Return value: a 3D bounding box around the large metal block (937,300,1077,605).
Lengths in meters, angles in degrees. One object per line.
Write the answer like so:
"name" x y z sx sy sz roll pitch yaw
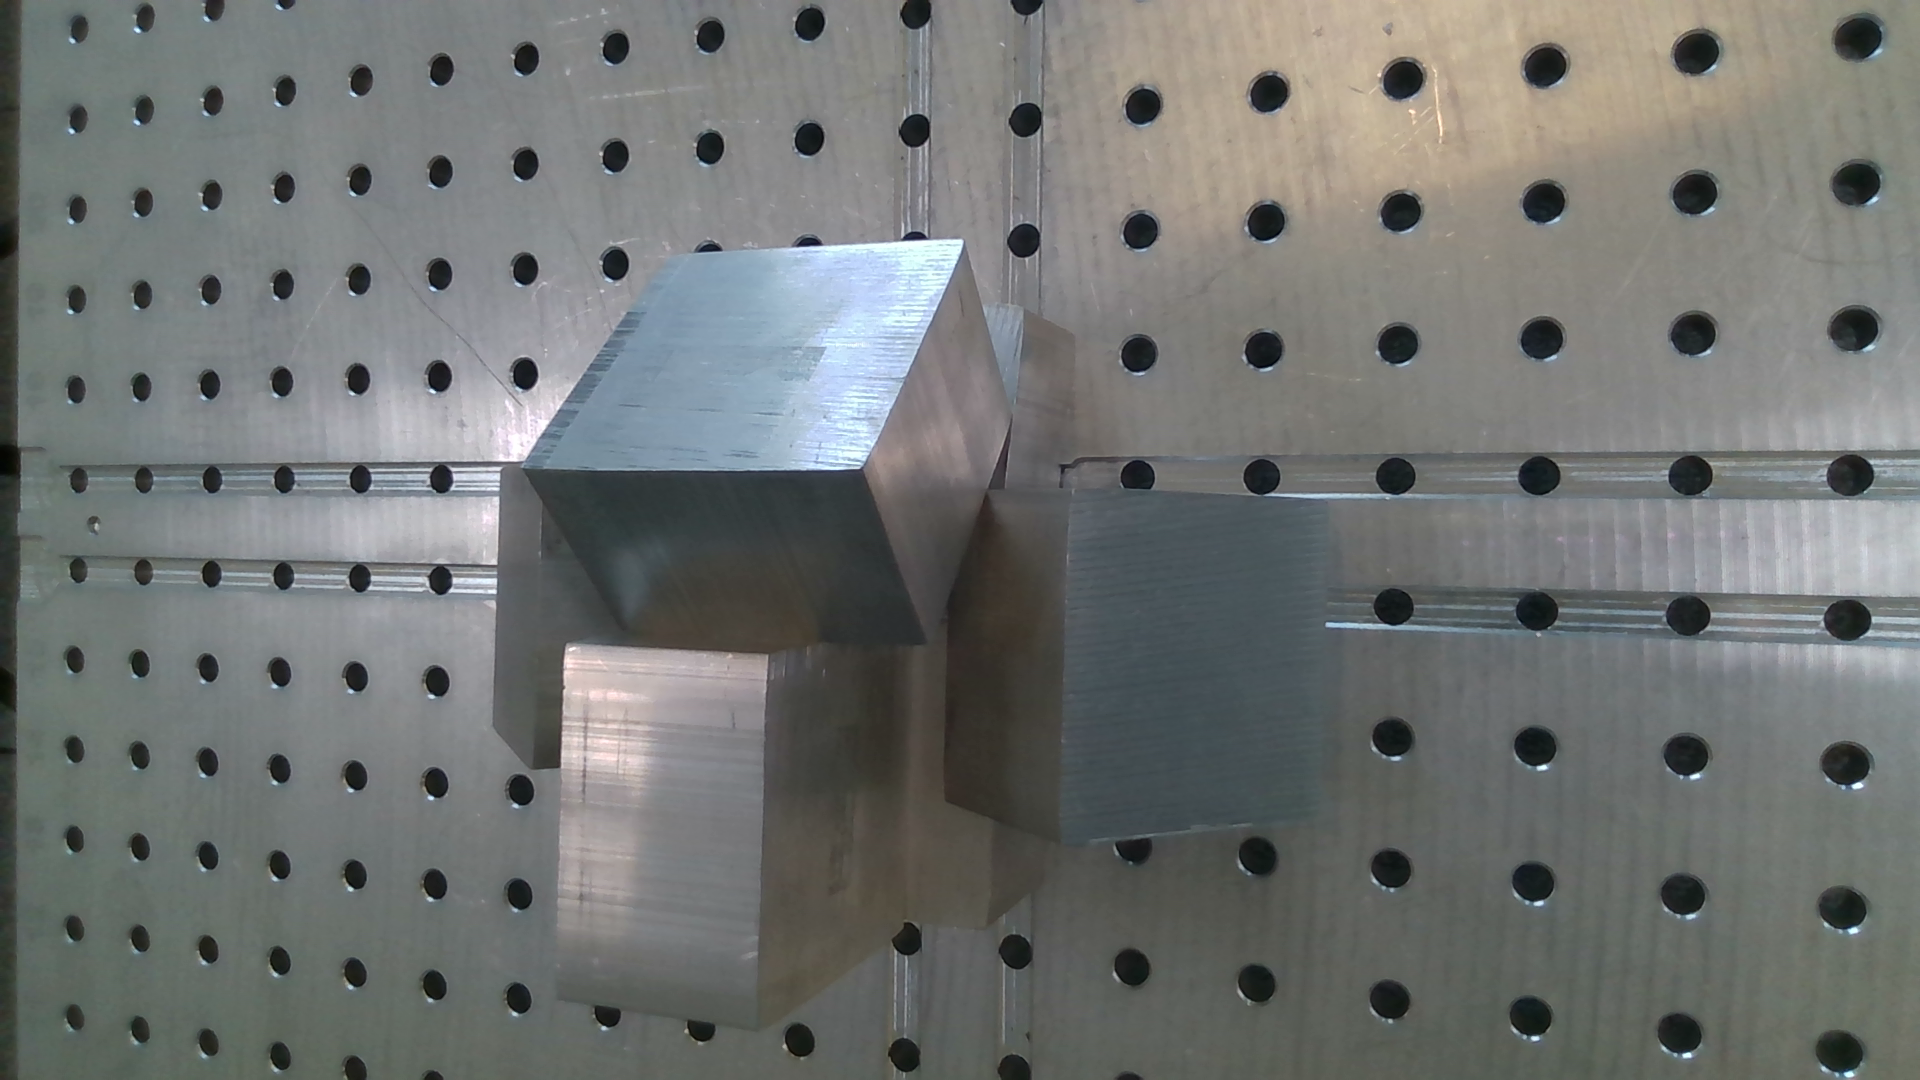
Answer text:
"large metal block" -0.016 -0.026 0.389 0.080 0.050 0.080 7 93 20

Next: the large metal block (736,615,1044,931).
"large metal block" -0.020 0.059 0.390 0.080 0.050 0.080 3 91 20

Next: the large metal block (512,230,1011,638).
"large metal block" -0.041 -0.026 0.320 0.080 0.050 0.080 1 46 20

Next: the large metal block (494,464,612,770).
"large metal block" -0.103 0.019 0.399 0.080 0.050 0.080 -176 88 -65

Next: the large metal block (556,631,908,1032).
"large metal block" -0.051 0.062 0.333 0.050 0.080 0.080 2 91 20

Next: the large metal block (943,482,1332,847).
"large metal block" 0.044 0.027 0.343 0.050 0.080 0.080 3 92 58
